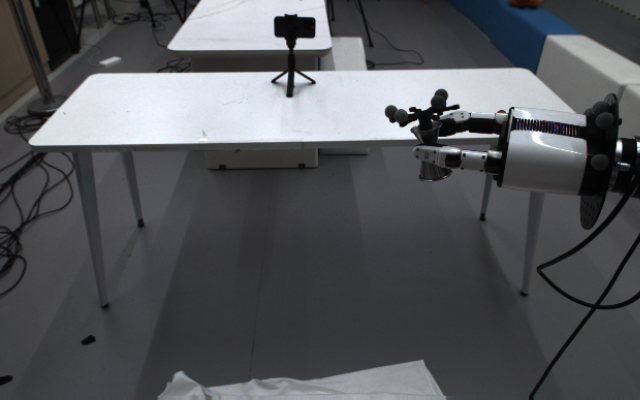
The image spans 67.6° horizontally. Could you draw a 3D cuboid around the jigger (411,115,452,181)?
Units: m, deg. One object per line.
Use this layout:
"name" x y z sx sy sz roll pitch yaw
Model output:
"jigger" 0.145 -0.064 0.632 0.043 0.071 0.043 -14 21 6
